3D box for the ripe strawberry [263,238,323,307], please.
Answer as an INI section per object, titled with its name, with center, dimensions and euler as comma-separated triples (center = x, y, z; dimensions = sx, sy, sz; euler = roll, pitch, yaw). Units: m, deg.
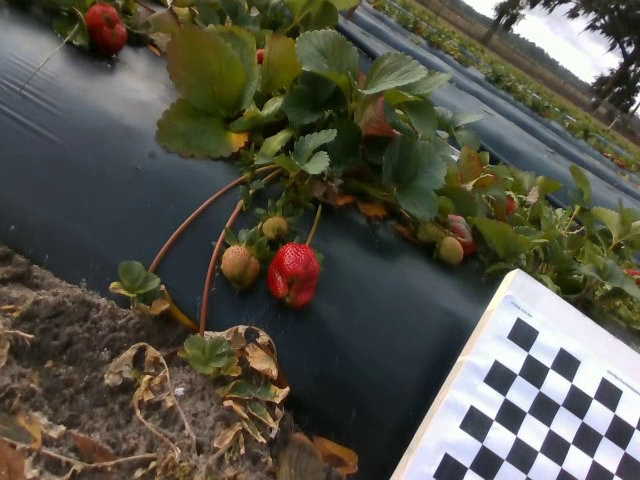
[ripe strawberry]
center = -0.023, 0.026, 0.553
dimensions = 0.066, 0.075, 0.053
euler = 18, -20, -8
